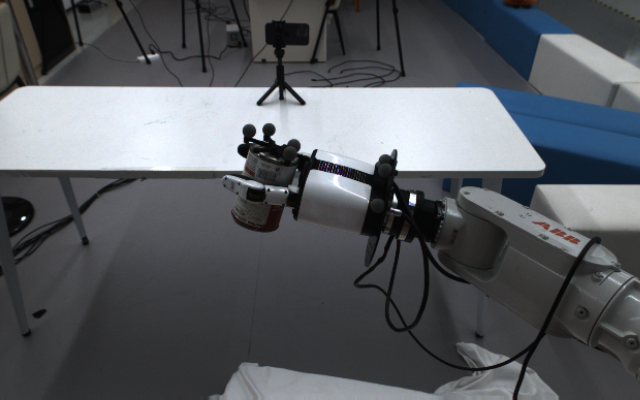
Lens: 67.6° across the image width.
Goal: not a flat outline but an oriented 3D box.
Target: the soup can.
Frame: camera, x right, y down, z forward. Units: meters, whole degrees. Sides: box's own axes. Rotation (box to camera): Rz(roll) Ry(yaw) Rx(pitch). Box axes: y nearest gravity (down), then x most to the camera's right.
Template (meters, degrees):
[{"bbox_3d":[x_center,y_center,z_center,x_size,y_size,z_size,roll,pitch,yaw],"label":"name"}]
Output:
[{"bbox_3d":[-0.072,-0.016,0.642,0.067,0.101,0.067,17,21,-7],"label":"soup can"}]
